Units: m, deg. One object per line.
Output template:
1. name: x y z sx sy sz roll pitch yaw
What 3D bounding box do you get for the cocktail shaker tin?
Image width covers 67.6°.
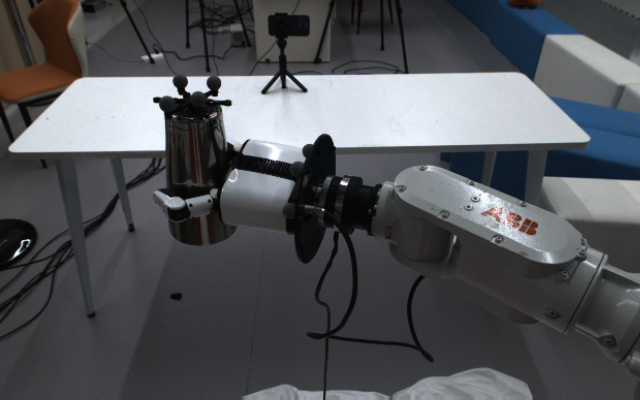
1. cocktail shaker tin: -0.151 -0.037 0.612 0.093 0.170 0.093 3 34 -2
